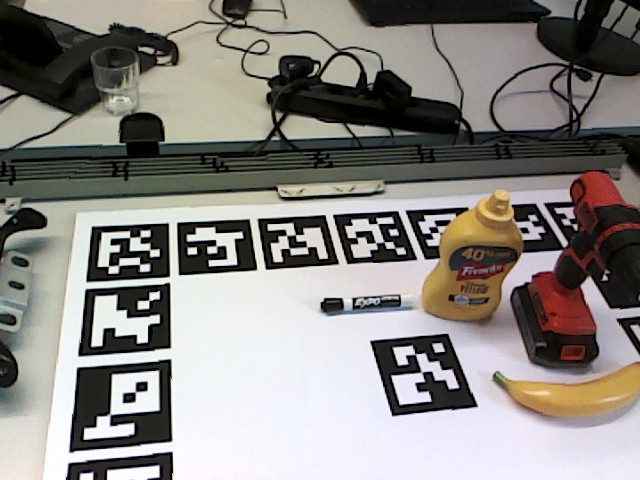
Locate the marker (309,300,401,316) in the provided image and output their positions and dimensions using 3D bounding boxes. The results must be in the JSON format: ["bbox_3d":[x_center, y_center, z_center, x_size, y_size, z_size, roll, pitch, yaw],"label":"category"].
[{"bbox_3d":[0.046,0.089,0.816,0.121,0.019,0.020,-1,47,-8],"label":"marker"}]

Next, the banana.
[{"bbox_3d":[0.287,0.193,0.734,0.197,0.039,0.074,3,47,-2],"label":"banana"}]

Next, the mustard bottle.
[{"bbox_3d":[0.180,0.032,0.767,0.096,0.191,0.058,7,45,-2],"label":"mustard bottle"}]

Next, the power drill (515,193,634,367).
[{"bbox_3d":[0.294,0.064,0.728,0.057,0.187,0.185,9,43,-1],"label":"power drill"}]
